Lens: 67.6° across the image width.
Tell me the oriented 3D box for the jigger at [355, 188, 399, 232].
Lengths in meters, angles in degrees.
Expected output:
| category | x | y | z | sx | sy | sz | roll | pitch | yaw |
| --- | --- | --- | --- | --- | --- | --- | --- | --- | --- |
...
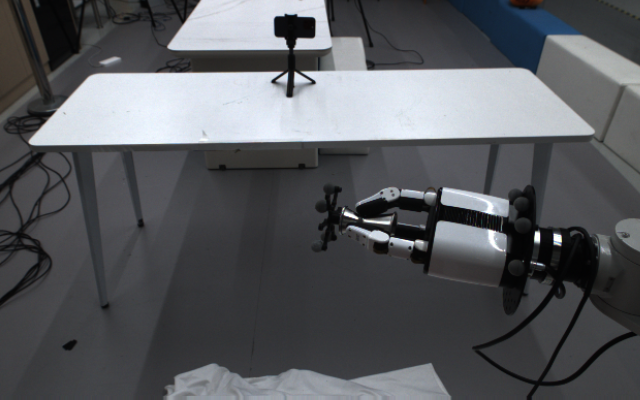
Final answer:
| category | x | y | z | sx | sy | sz | roll | pitch | yaw |
| --- | --- | --- | --- | --- | --- | --- | --- | --- | --- |
| jigger | 0.069 | 0.028 | 0.630 | 0.071 | 0.043 | 0.043 | 9 | 35 | 17 |
